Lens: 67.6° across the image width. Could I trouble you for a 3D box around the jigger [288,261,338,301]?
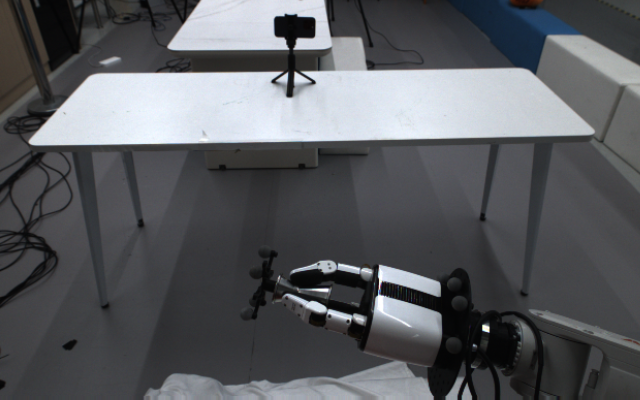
[{"bbox_3d":[-0.015,0.117,0.609,0.071,0.043,0.043,14,36,5],"label":"jigger"}]
